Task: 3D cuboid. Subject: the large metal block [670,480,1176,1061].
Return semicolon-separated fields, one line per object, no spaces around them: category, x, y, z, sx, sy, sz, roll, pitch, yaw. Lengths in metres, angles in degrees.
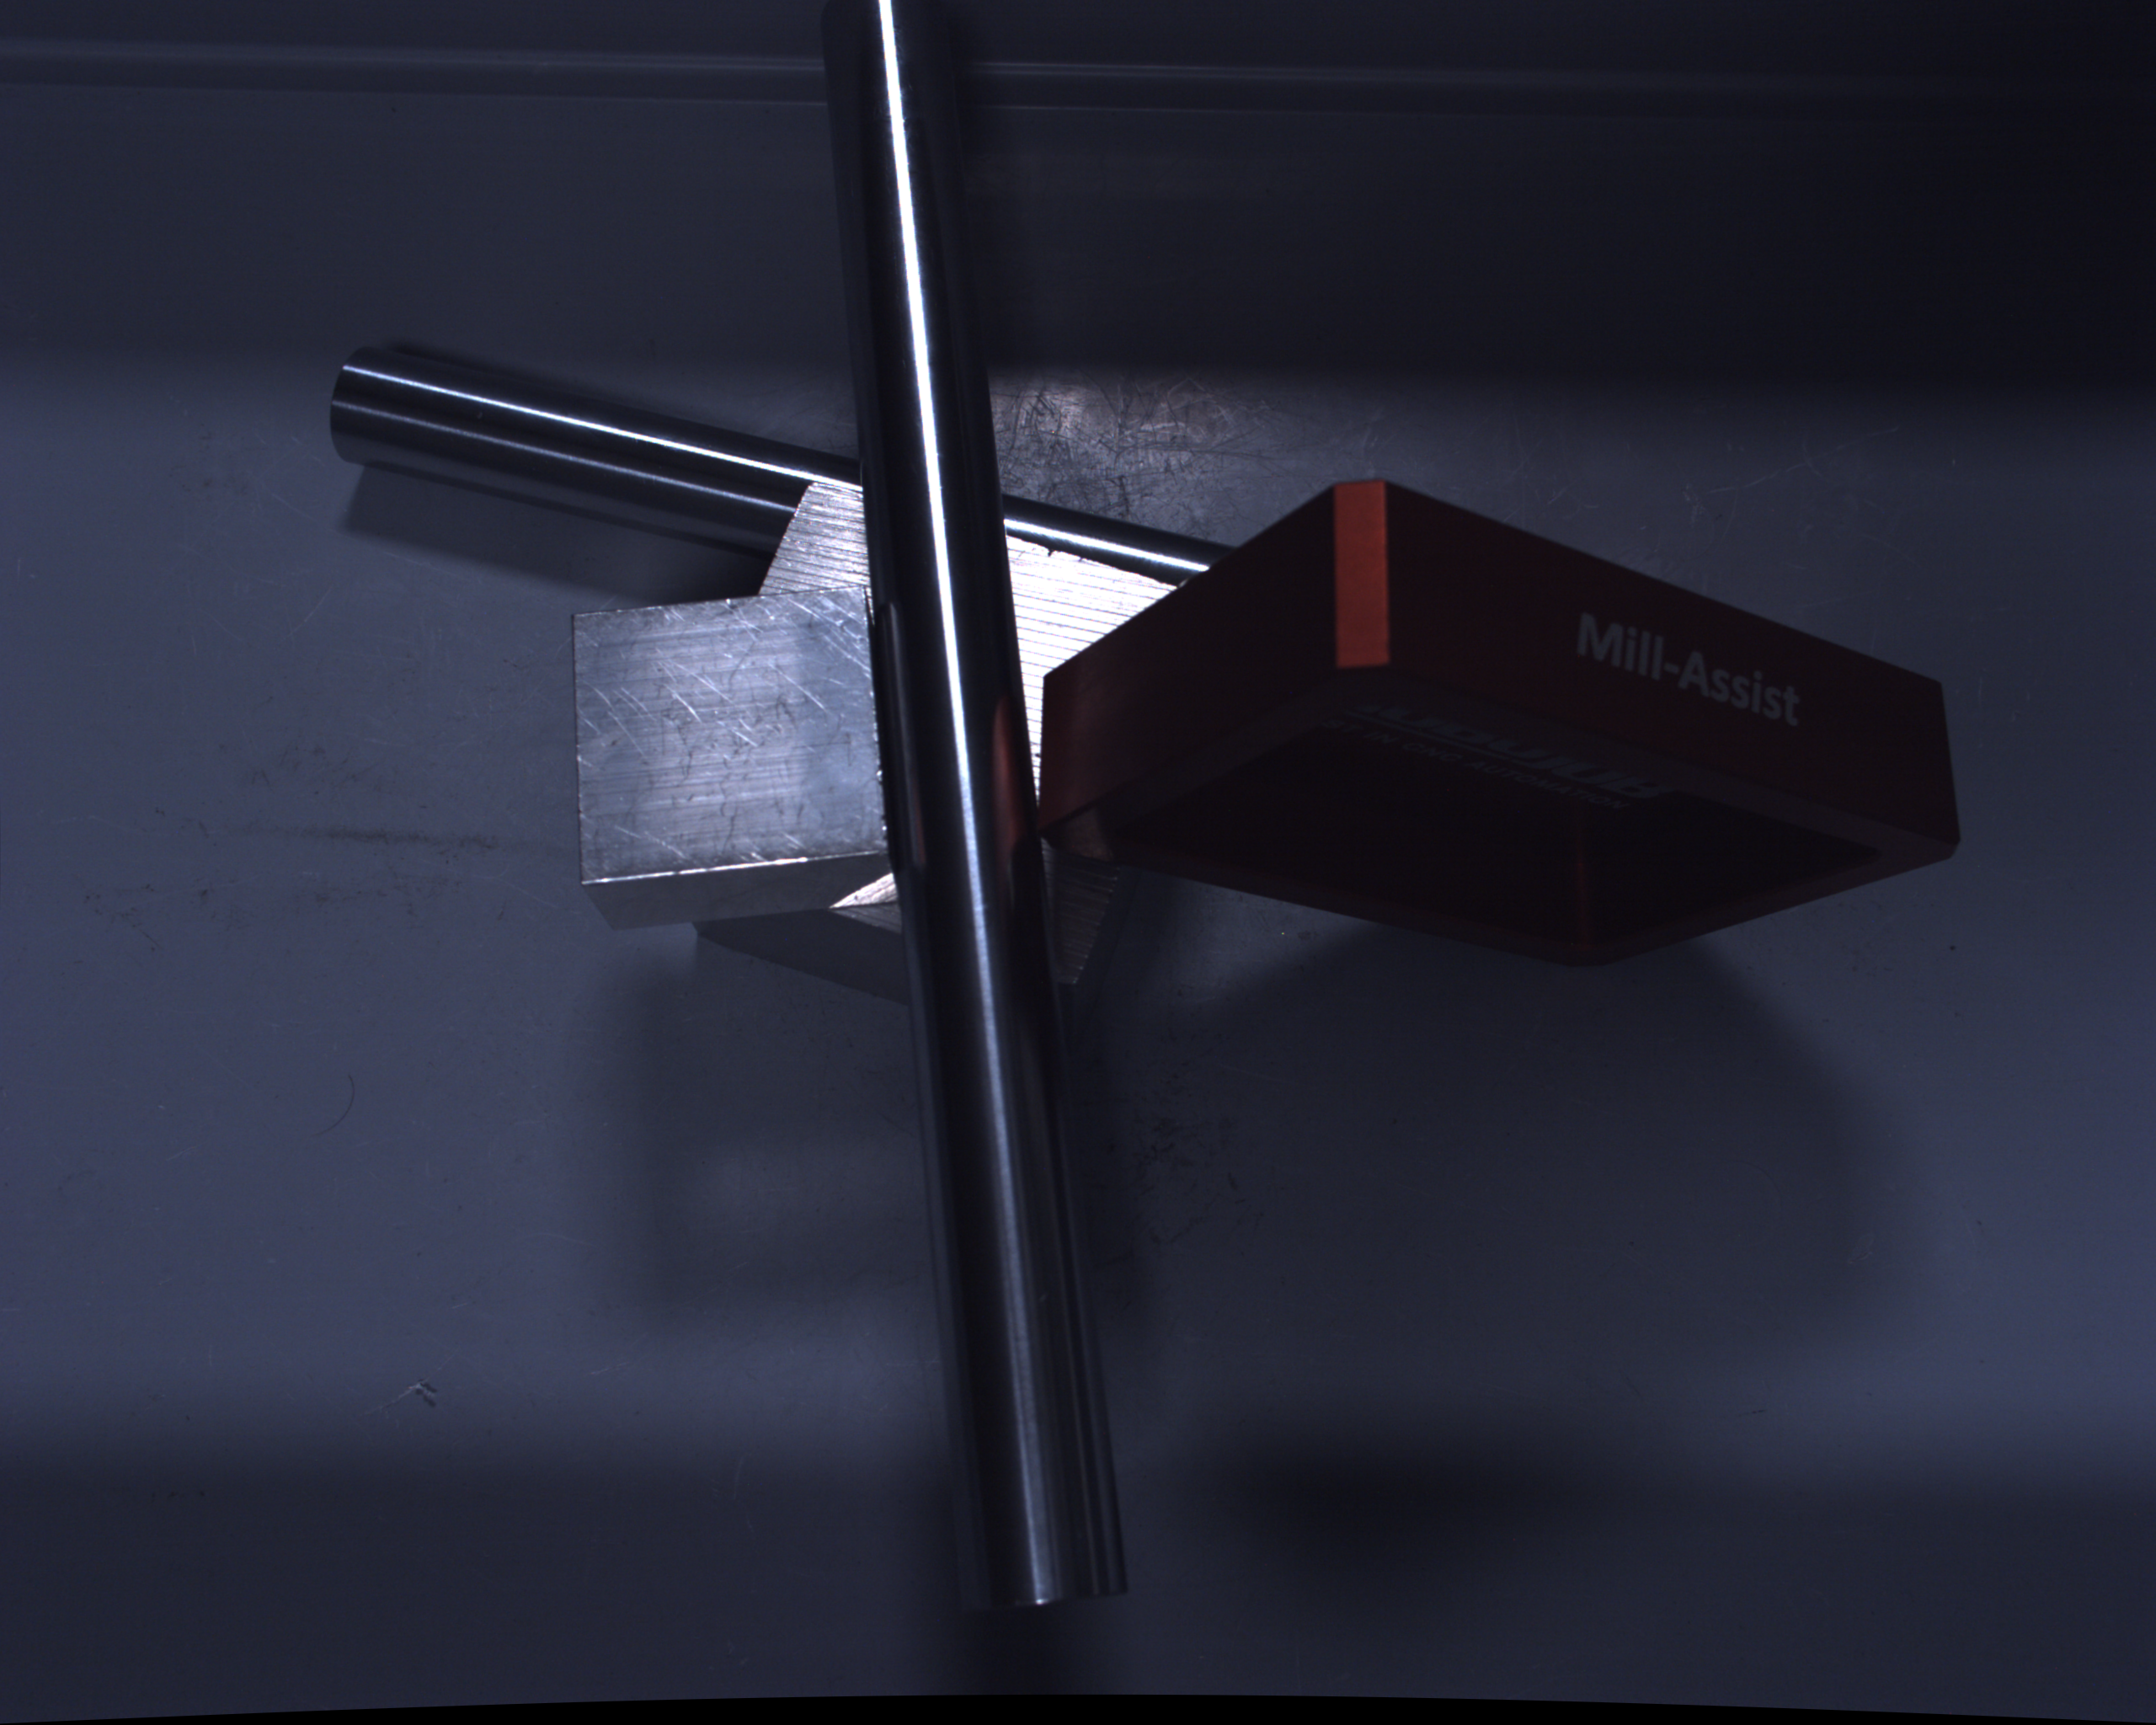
large metal block;-0.025;-0.017;0.401;0.080;0.050;0.080;17;71;6

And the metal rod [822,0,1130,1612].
metal rod;-0.022;-0.028;0.365;0.025;0.025;0.299;-6;70;-3

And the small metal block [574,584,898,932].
small metal block;-0.058;-0.018;0.361;0.050;0.025;0.050;-6;70;-3

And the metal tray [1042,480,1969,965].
metal tray;0.071;-0.017;0.352;0.131;0.090;0.030;12;68;-29

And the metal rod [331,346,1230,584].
metal rod;-0.006;-0.061;0.431;0.302;0.025;0.025;14;71;4
